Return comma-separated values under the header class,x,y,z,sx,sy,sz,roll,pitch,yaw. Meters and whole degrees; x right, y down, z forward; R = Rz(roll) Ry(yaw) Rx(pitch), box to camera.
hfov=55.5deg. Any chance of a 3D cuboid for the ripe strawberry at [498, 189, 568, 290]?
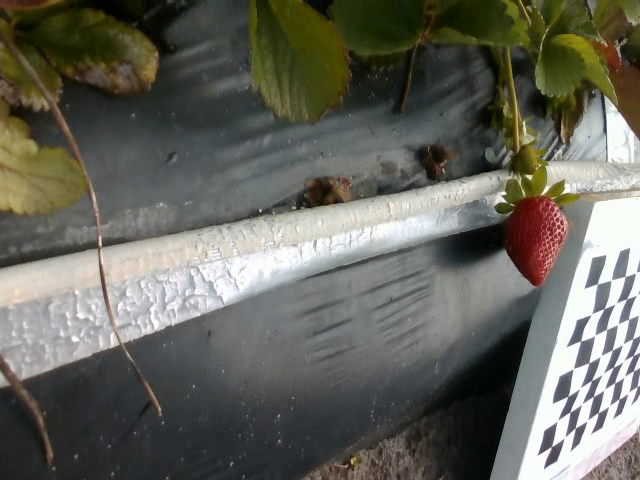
class,x,y,z,sx,sy,sz,roll,pitch,yaw
ripe strawberry,0.111,0.002,0.311,0.030,0.053,0.048,-3,-33,31
